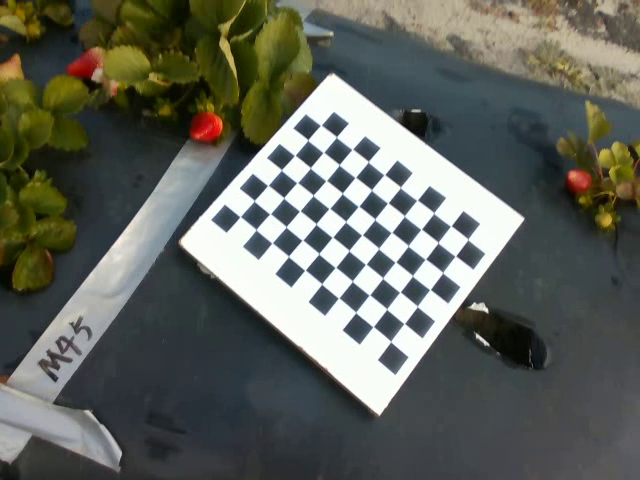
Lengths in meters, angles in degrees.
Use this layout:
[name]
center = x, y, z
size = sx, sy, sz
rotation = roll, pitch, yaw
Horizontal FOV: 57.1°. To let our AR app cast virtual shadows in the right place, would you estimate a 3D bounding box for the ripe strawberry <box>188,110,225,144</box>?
[ripe strawberry]
center = -0.127, -0.121, 0.636
size = 0.050, 0.055, 0.036
rotation = 35, -33, 1
